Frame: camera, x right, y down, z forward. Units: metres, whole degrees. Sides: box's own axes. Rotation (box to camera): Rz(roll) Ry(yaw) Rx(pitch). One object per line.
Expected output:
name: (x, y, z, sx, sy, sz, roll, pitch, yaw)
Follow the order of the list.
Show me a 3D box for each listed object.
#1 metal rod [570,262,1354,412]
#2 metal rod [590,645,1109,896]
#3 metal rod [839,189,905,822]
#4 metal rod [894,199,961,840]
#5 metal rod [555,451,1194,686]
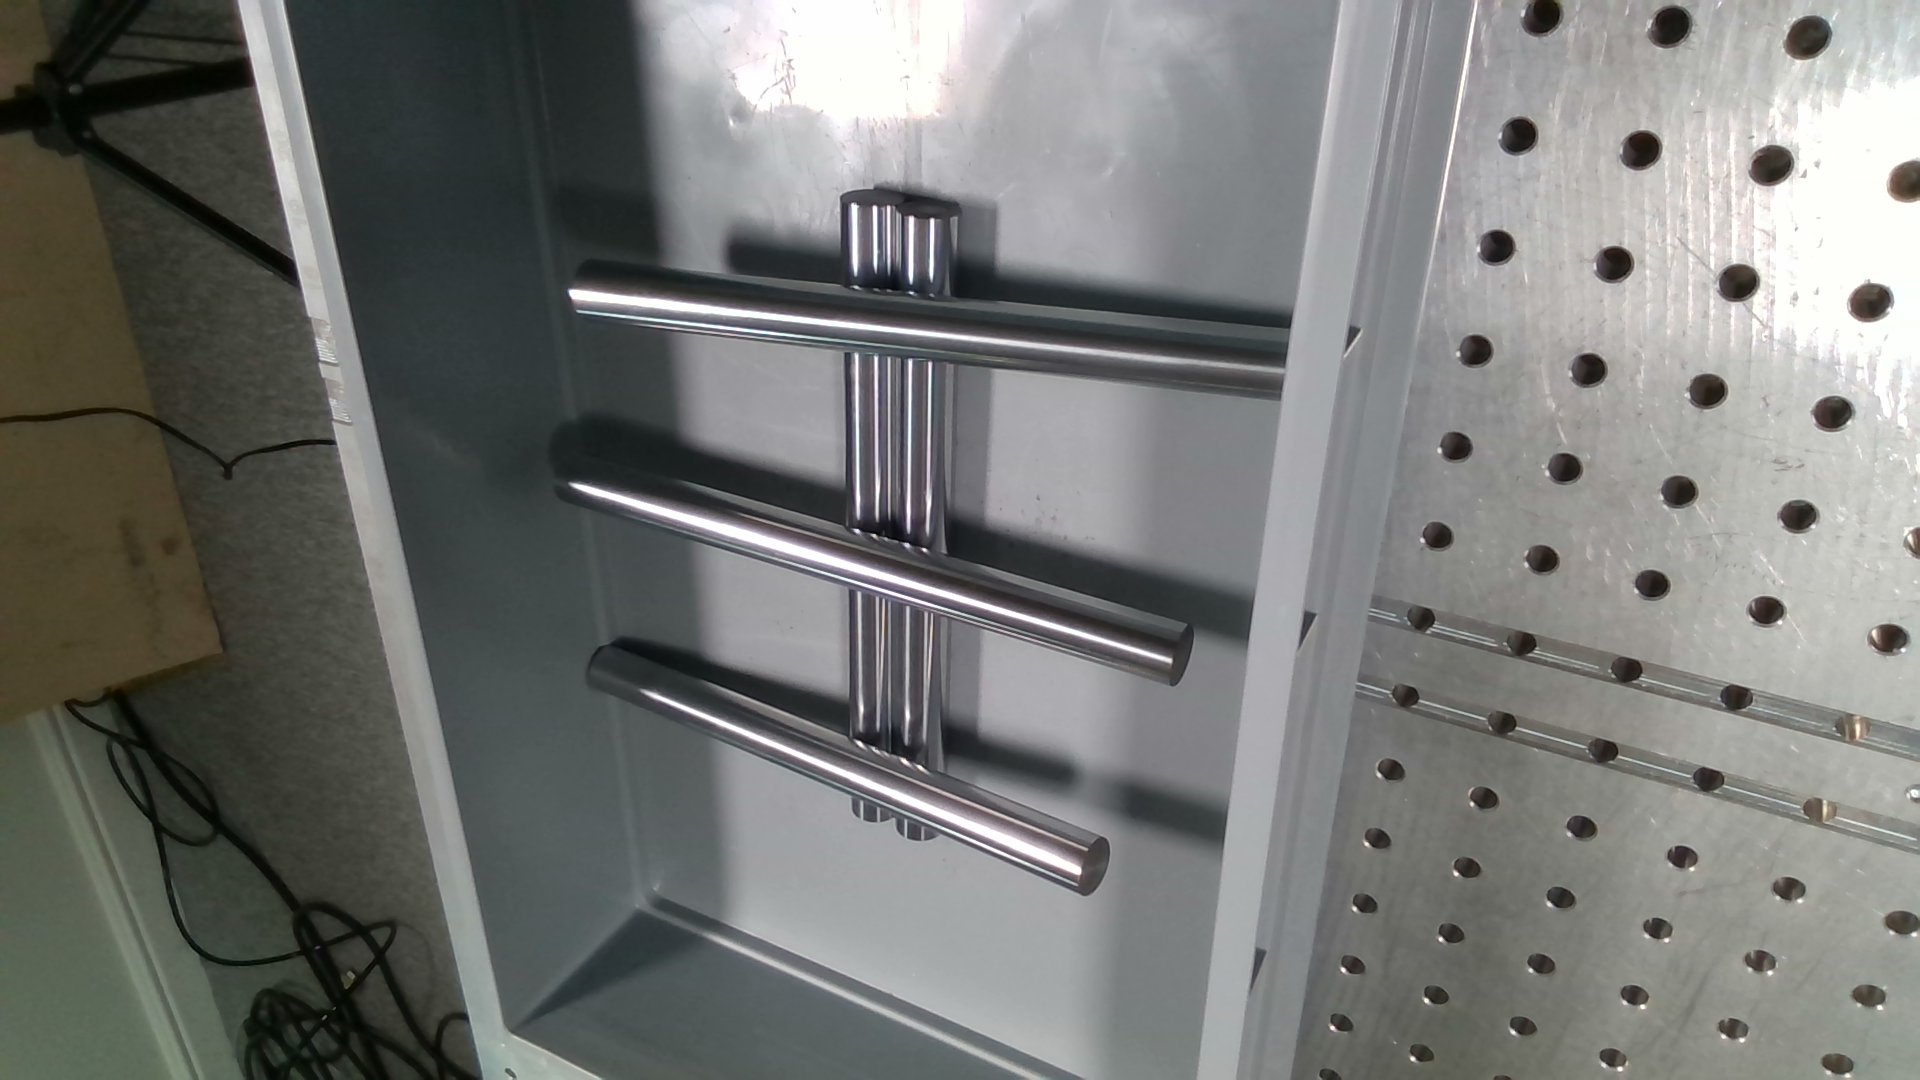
metal rod: (-0.010, -0.078, 0.511, 0.300, 0.025, 0.025, 9, 120, 18)
metal rod: (-0.066, 0.100, 0.645, 0.300, 0.025, 0.025, 15, 123, 34)
metal rod: (-0.037, -0.001, 0.602, 0.025, 0.025, 0.301, 16, 123, 24)
metal rod: (-0.016, 0.006, 0.592, 0.025, 0.025, 0.301, 16, 123, 24)
metal rod: (-0.048, 0.007, 0.580, 0.300, 0.025, 0.025, 16, 122, 24)
